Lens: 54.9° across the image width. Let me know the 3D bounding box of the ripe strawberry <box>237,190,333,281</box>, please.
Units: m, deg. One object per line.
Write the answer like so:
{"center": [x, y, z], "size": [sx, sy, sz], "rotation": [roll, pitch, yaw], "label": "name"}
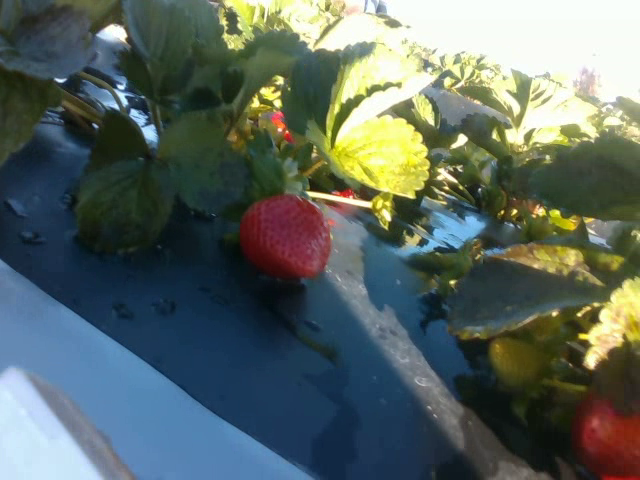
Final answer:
{"center": [-0.011, 0.001, 0.255], "size": [0.045, 0.042, 0.058], "rotation": [-22, 38, -2], "label": "ripe strawberry"}
